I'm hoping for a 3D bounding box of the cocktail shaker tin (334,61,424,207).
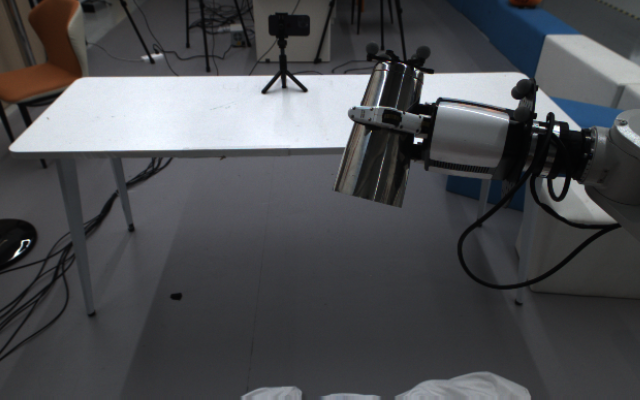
[{"bbox_3d":[0.080,-0.084,0.622,0.093,0.170,0.093,14,2,0],"label":"cocktail shaker tin"}]
